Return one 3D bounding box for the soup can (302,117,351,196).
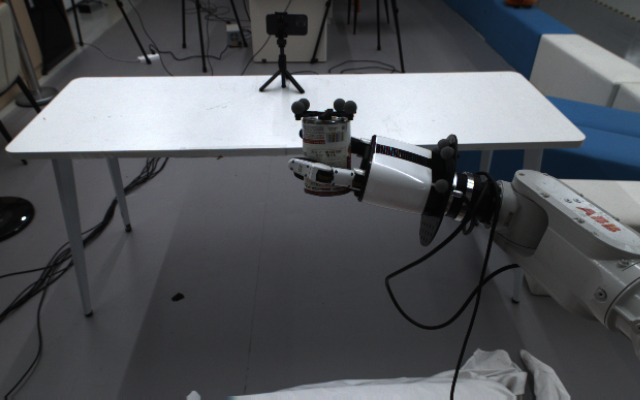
[{"bbox_3d":[0.011,-0.062,0.664,0.067,0.101,0.067,-1,17,0],"label":"soup can"}]
